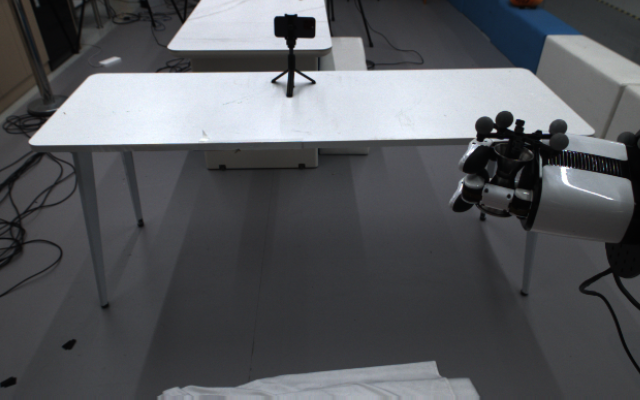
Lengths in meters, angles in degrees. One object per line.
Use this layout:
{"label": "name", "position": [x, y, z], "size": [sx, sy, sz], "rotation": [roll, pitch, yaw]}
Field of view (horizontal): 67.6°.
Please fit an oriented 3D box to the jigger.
{"label": "jigger", "position": [0.201, -0.022, 0.524], "size": [0.043, 0.071, 0.043], "rotation": [4, 31, -2]}
